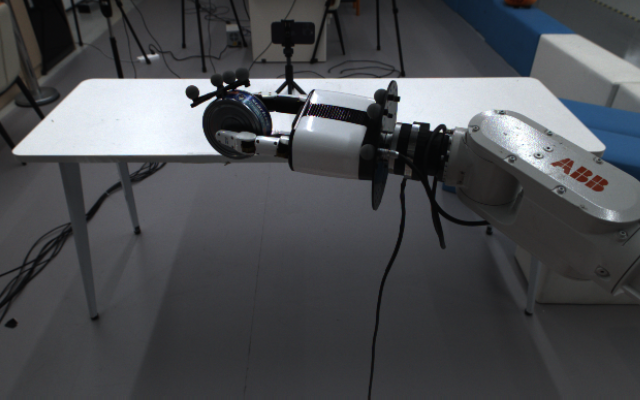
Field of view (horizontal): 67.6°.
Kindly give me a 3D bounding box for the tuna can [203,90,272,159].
[{"bbox_3d":[-0.104,-0.091,0.626,0.085,0.085,0.034,11,34,13],"label":"tuna can"}]
